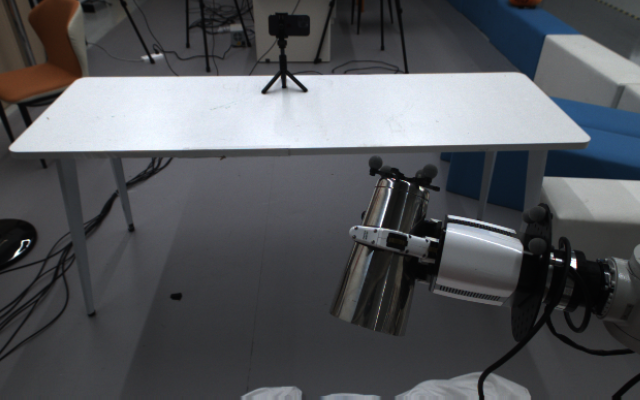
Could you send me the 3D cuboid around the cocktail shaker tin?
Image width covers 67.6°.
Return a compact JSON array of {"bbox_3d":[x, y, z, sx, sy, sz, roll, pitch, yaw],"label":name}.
[{"bbox_3d":[0.078,0.064,0.579,0.093,0.170,0.093,16,-6,2],"label":"cocktail shaker tin"}]
